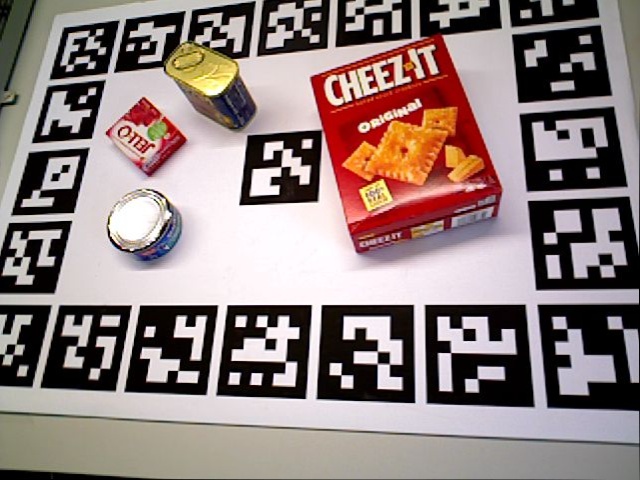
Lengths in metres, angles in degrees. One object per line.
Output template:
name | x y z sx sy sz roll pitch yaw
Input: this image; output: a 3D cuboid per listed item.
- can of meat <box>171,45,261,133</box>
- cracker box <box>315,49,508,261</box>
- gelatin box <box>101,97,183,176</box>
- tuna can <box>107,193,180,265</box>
can of meat | -0.134 -0.195 0.716 0.102 0.084 0.057 29 75 23
cracker box | 0.097 -0.102 0.627 0.164 0.072 0.212 -16 64 5
gelatin box | -0.243 -0.142 0.742 0.073 0.030 0.089 -44 68 -10
tuna can | -0.219 -0.013 0.680 0.086 0.034 0.085 -5 71 13
